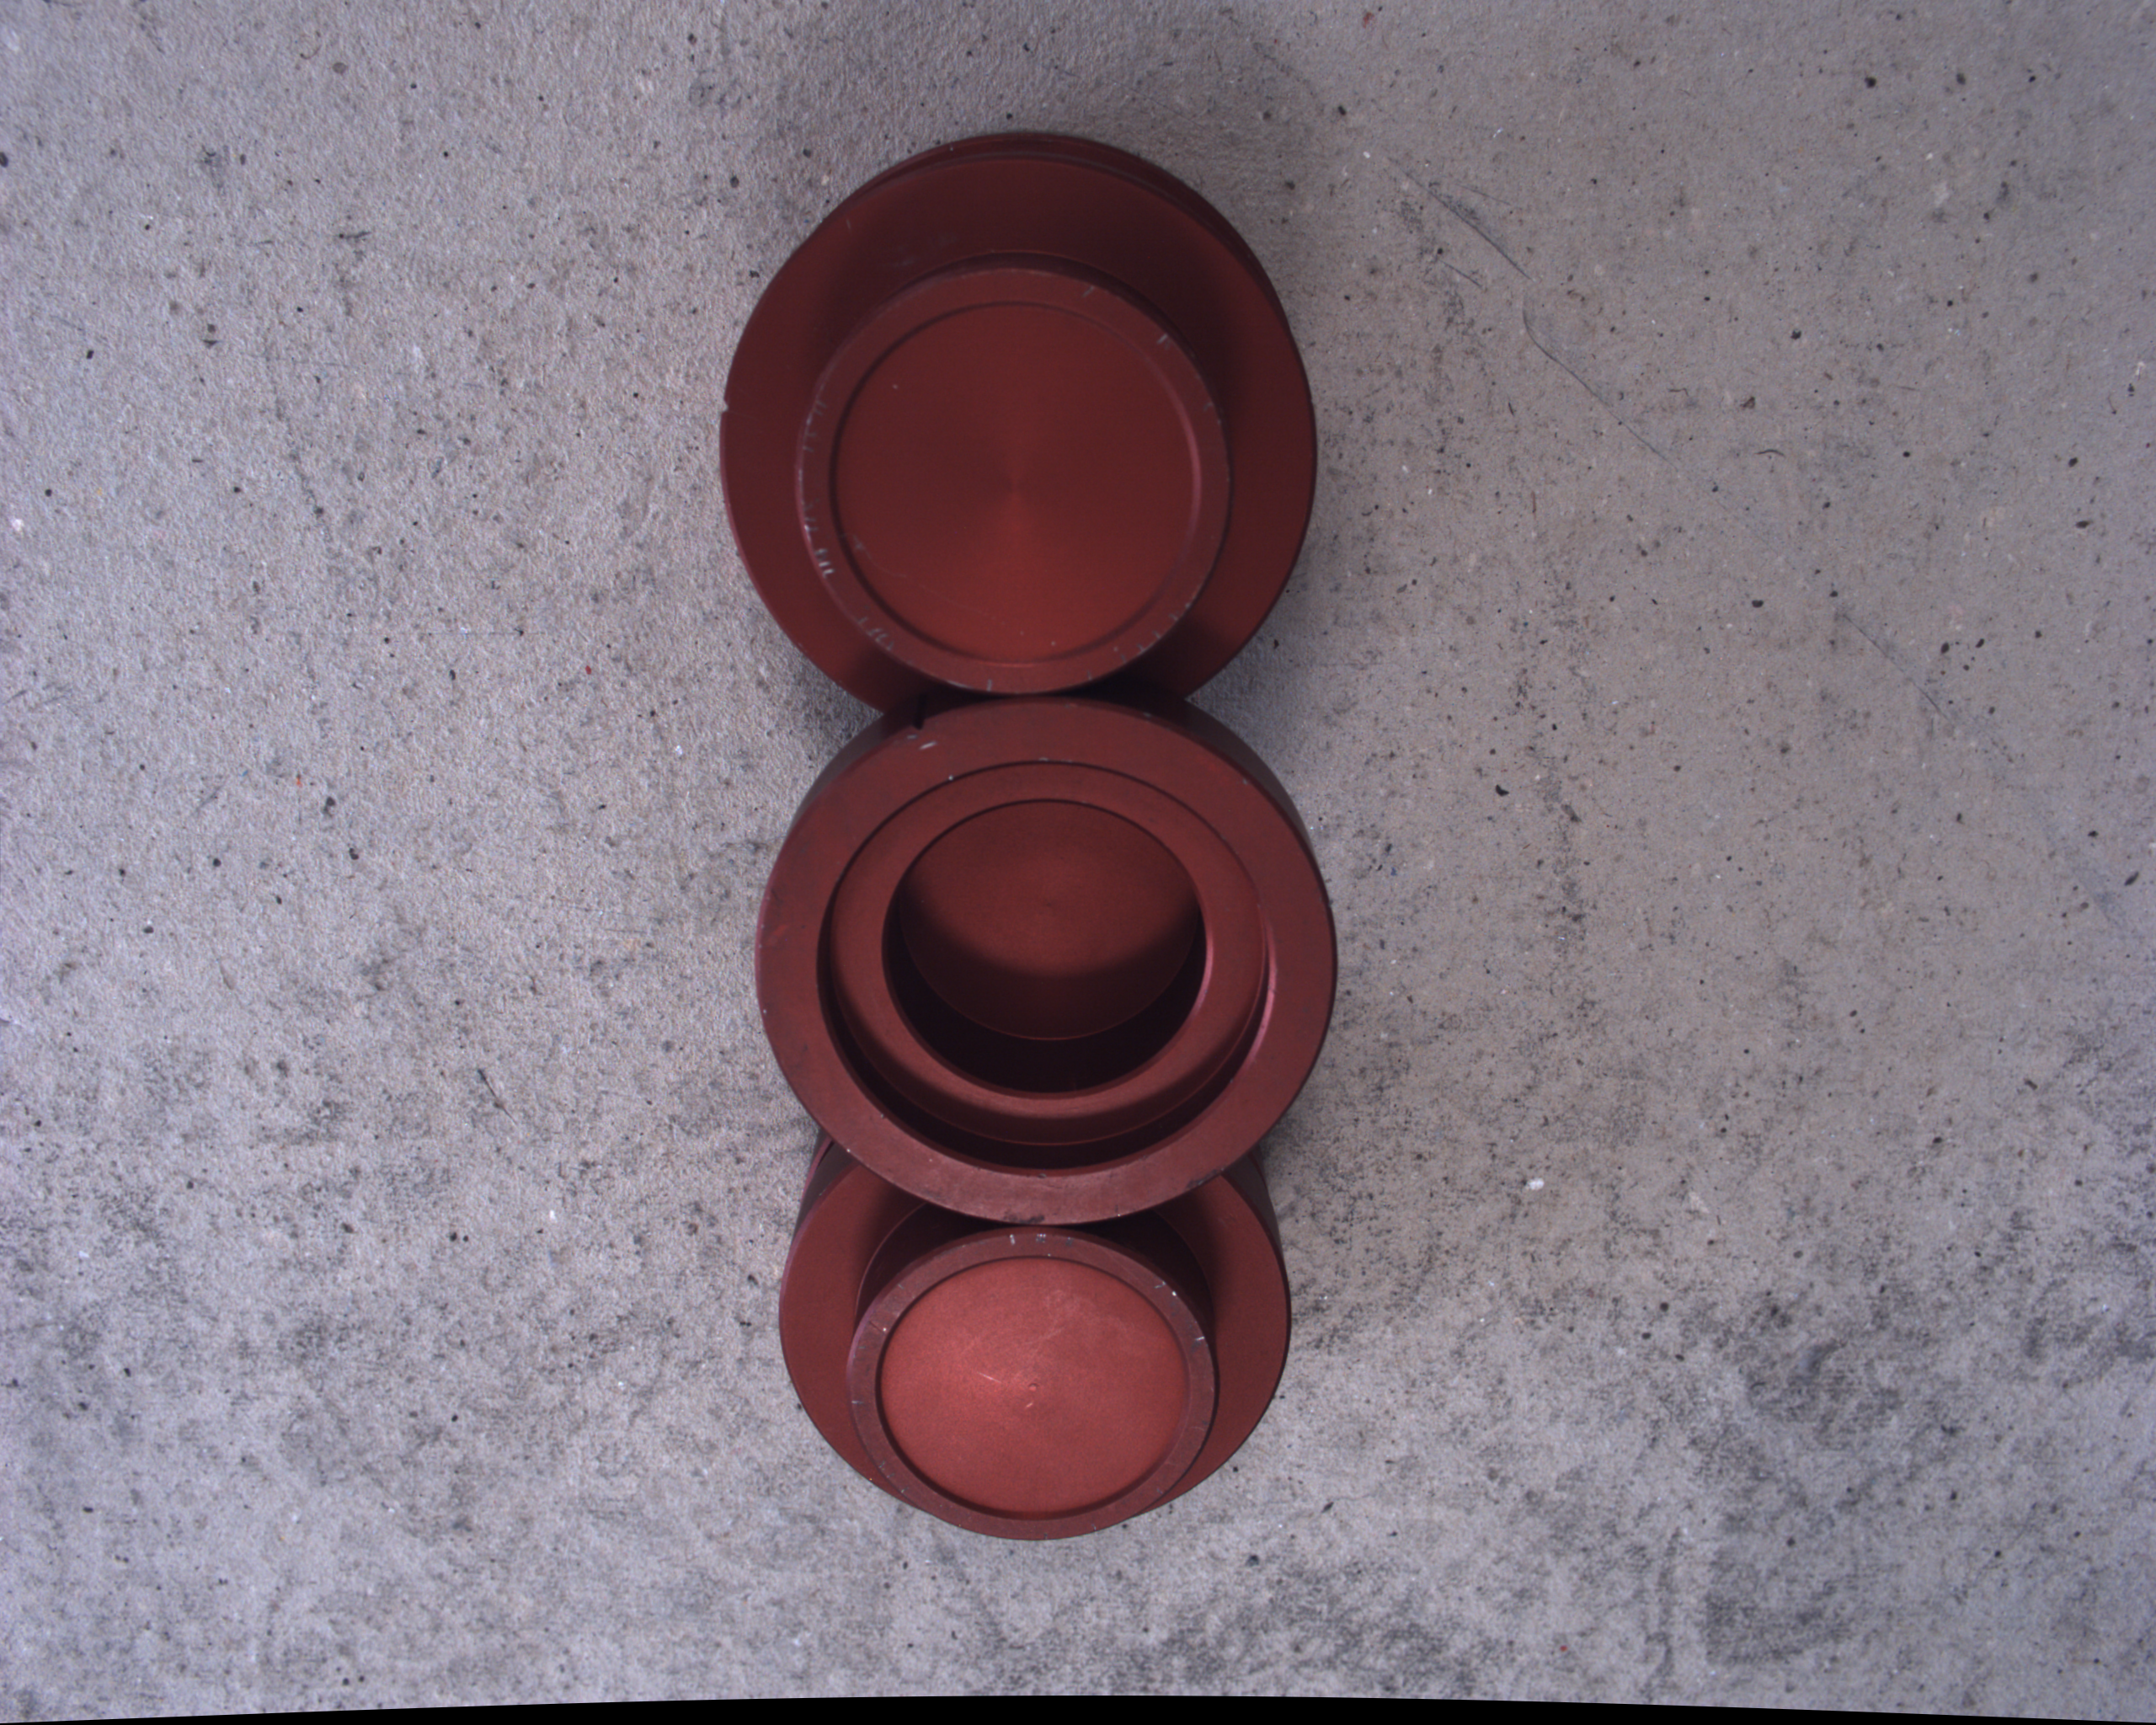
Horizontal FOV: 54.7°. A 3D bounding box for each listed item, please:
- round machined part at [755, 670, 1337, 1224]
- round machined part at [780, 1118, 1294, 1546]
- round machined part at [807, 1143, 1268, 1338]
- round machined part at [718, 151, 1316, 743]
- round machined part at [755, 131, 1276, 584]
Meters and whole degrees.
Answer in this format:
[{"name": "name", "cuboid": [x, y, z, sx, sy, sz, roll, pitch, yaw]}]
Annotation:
[{"name": "round machined part", "cuboid": [-0.005, 0.012, 0.372, 0.099, 0.042, 0.097, 0, 110, 0]}, {"name": "round machined part", "cuboid": [-0.008, 0.090, 0.399, 0.099, 0.042, 0.097, 0, 111, 1]}, {"name": "round machined part", "cuboid": [-0.008, 0.080, 0.432, 0.099, 0.042, 0.097, 0, 109, 1]}, {"name": "round machined part", "cuboid": [-0.010, -0.066, 0.343, 0.099, 0.042, 0.097, 0, 111, 1]}, {"name": "round machined part", "cuboid": [-0.009, -0.079, 0.372, 0.099, 0.042, 0.097, 0, 111, 1]}]
